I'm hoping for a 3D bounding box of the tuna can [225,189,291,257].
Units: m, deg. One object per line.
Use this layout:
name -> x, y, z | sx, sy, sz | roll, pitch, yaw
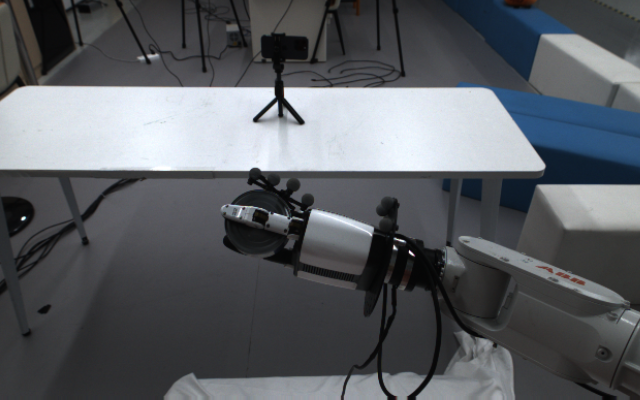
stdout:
tuna can -> -0.077, 0.030, 0.630 | 0.085, 0.034, 0.085 | 0, 72, 0
